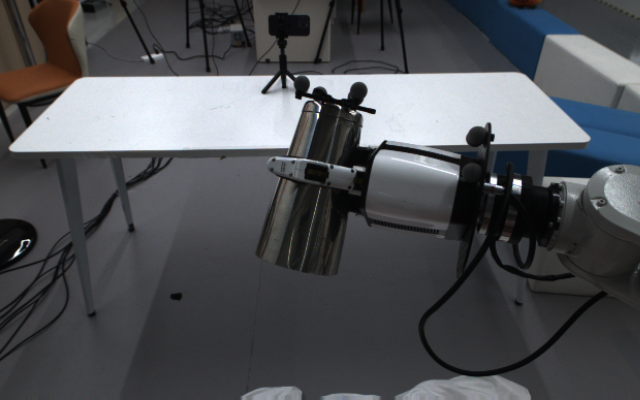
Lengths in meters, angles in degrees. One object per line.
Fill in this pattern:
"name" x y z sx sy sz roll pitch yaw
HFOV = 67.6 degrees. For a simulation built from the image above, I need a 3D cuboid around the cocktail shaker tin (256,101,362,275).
"cocktail shaker tin" -0.004 -0.014 0.522 0.093 0.170 0.093 14 2 0
